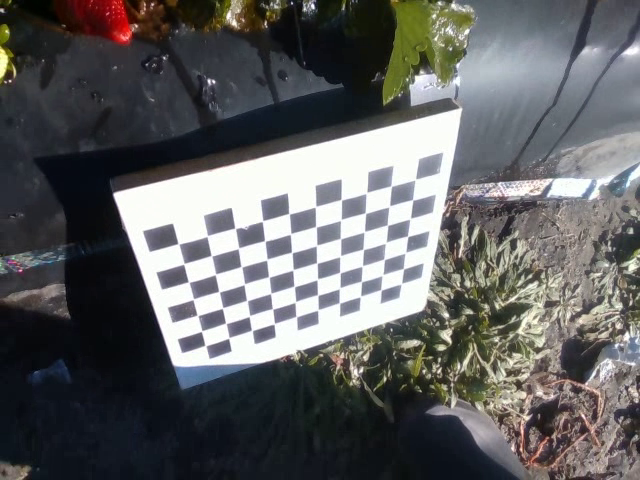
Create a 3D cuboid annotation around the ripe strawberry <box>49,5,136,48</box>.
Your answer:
[{"bbox_3d":[-0.121,-0.126,0.342,0.040,0.053,0.042,-43,-16,10],"label":"ripe strawberry"}]
